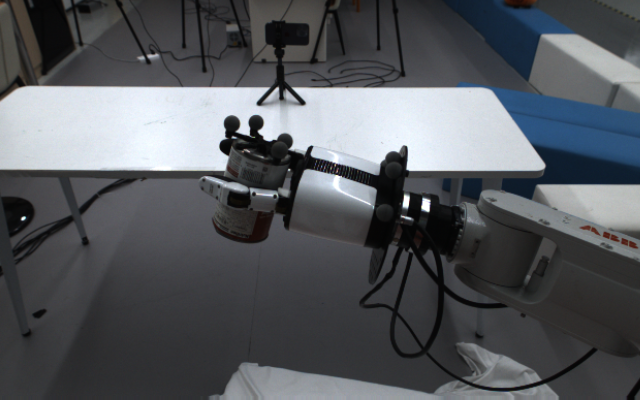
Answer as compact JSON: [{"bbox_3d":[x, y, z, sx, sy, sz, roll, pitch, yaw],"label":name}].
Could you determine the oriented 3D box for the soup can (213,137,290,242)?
[{"bbox_3d":[-0.076,-0.011,0.546,0.067,0.101,0.067,17,21,-7],"label":"soup can"}]
